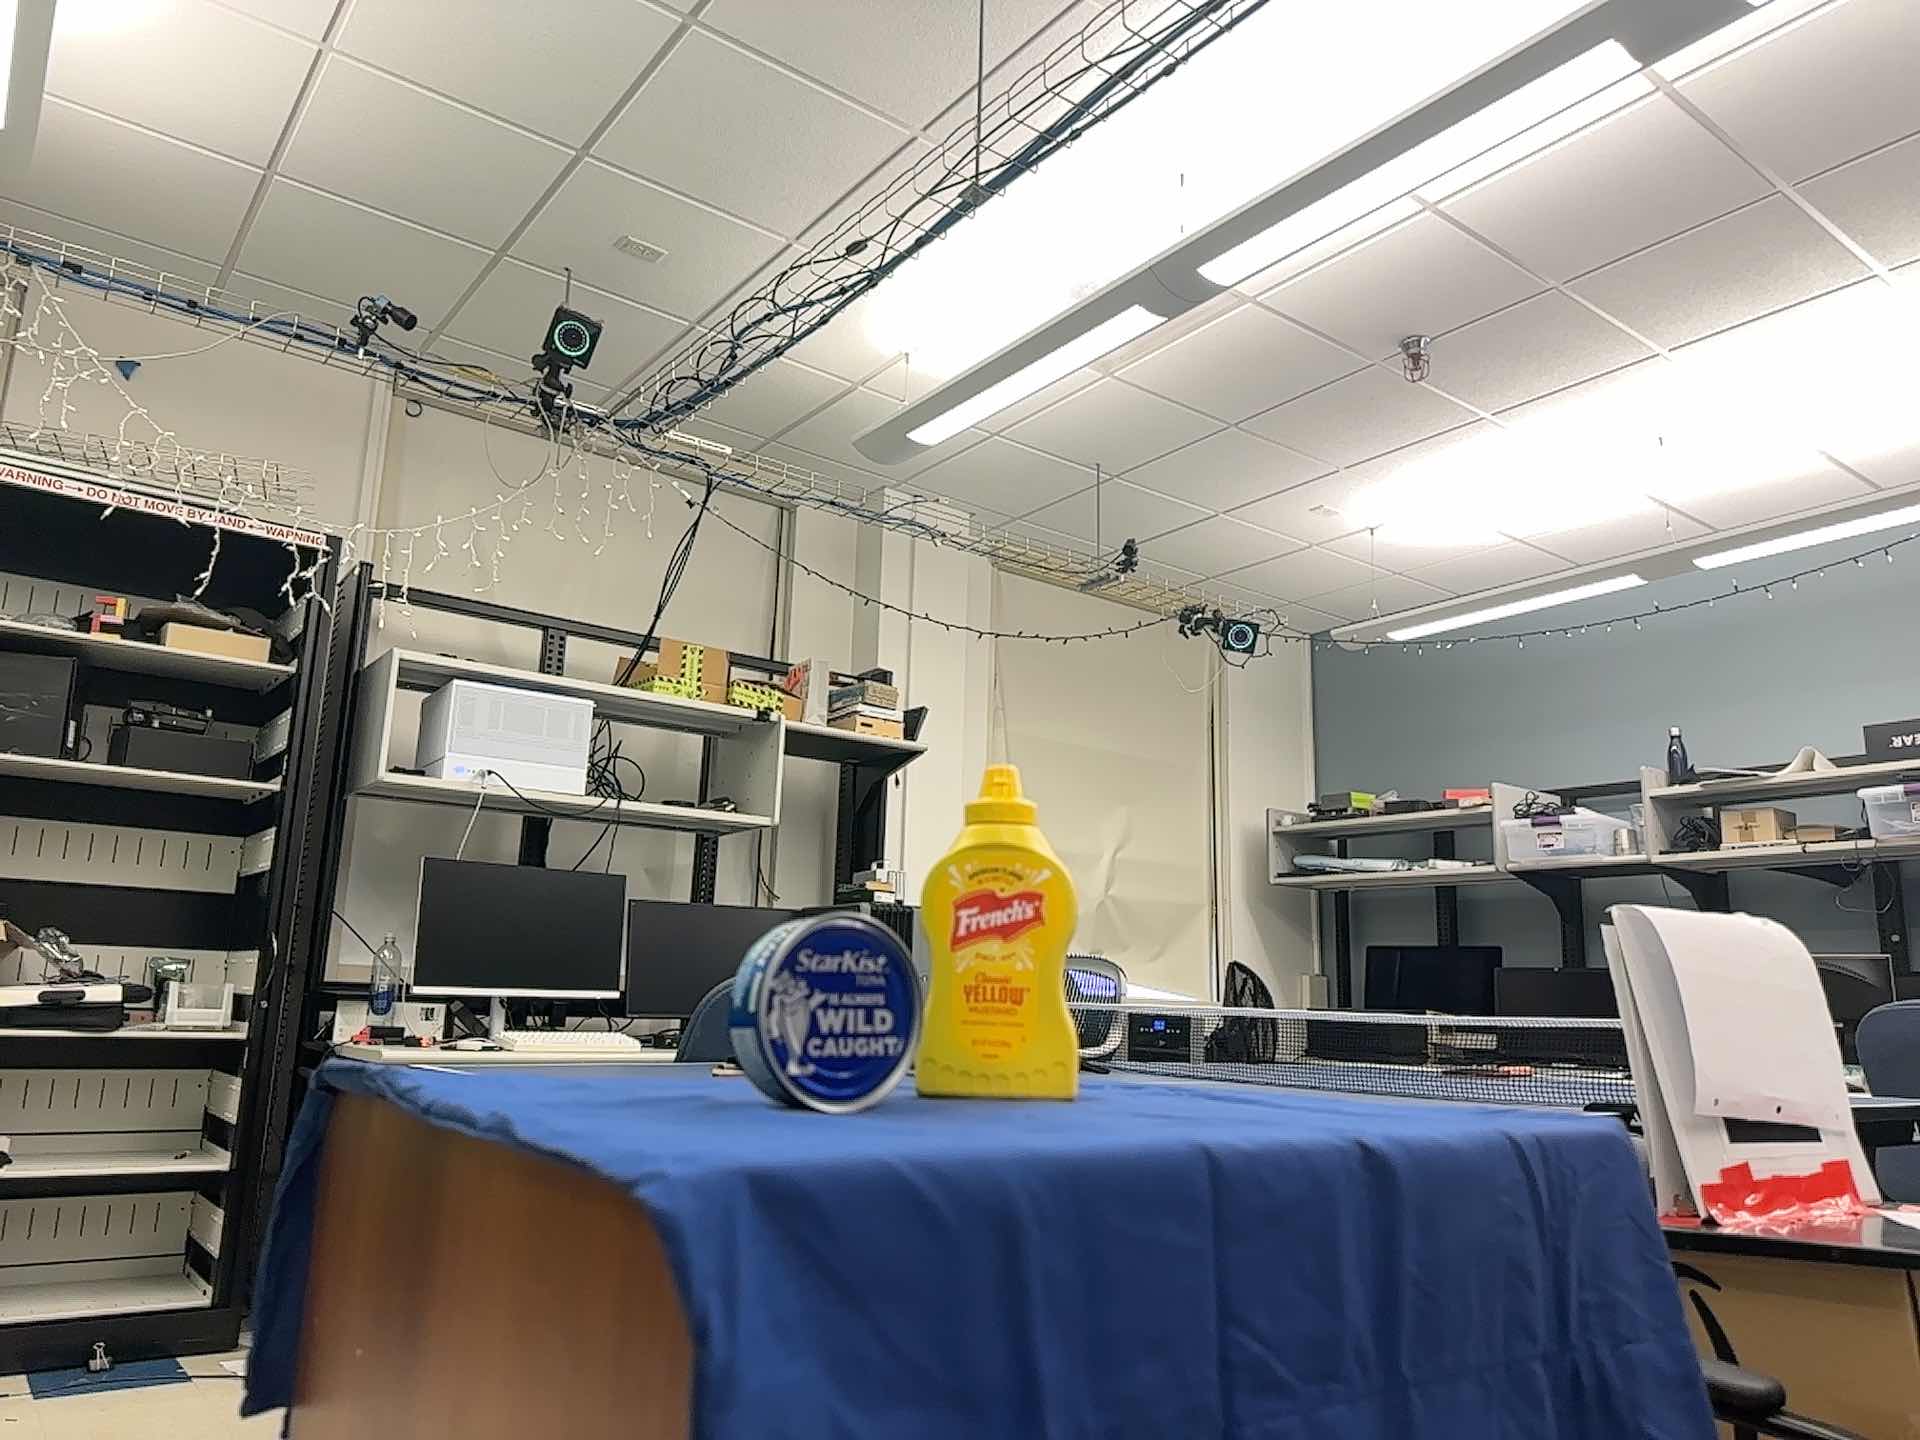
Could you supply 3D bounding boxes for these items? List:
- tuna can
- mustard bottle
[{"bbox_3d":[-0.060,0.132,0.612,0.083,0.083,0.034,9,-14,-33],"label":"tuna can"},{"bbox_3d":[0.019,0.109,0.733,0.092,0.184,0.054,-2,-12,13],"label":"mustard bottle"}]
